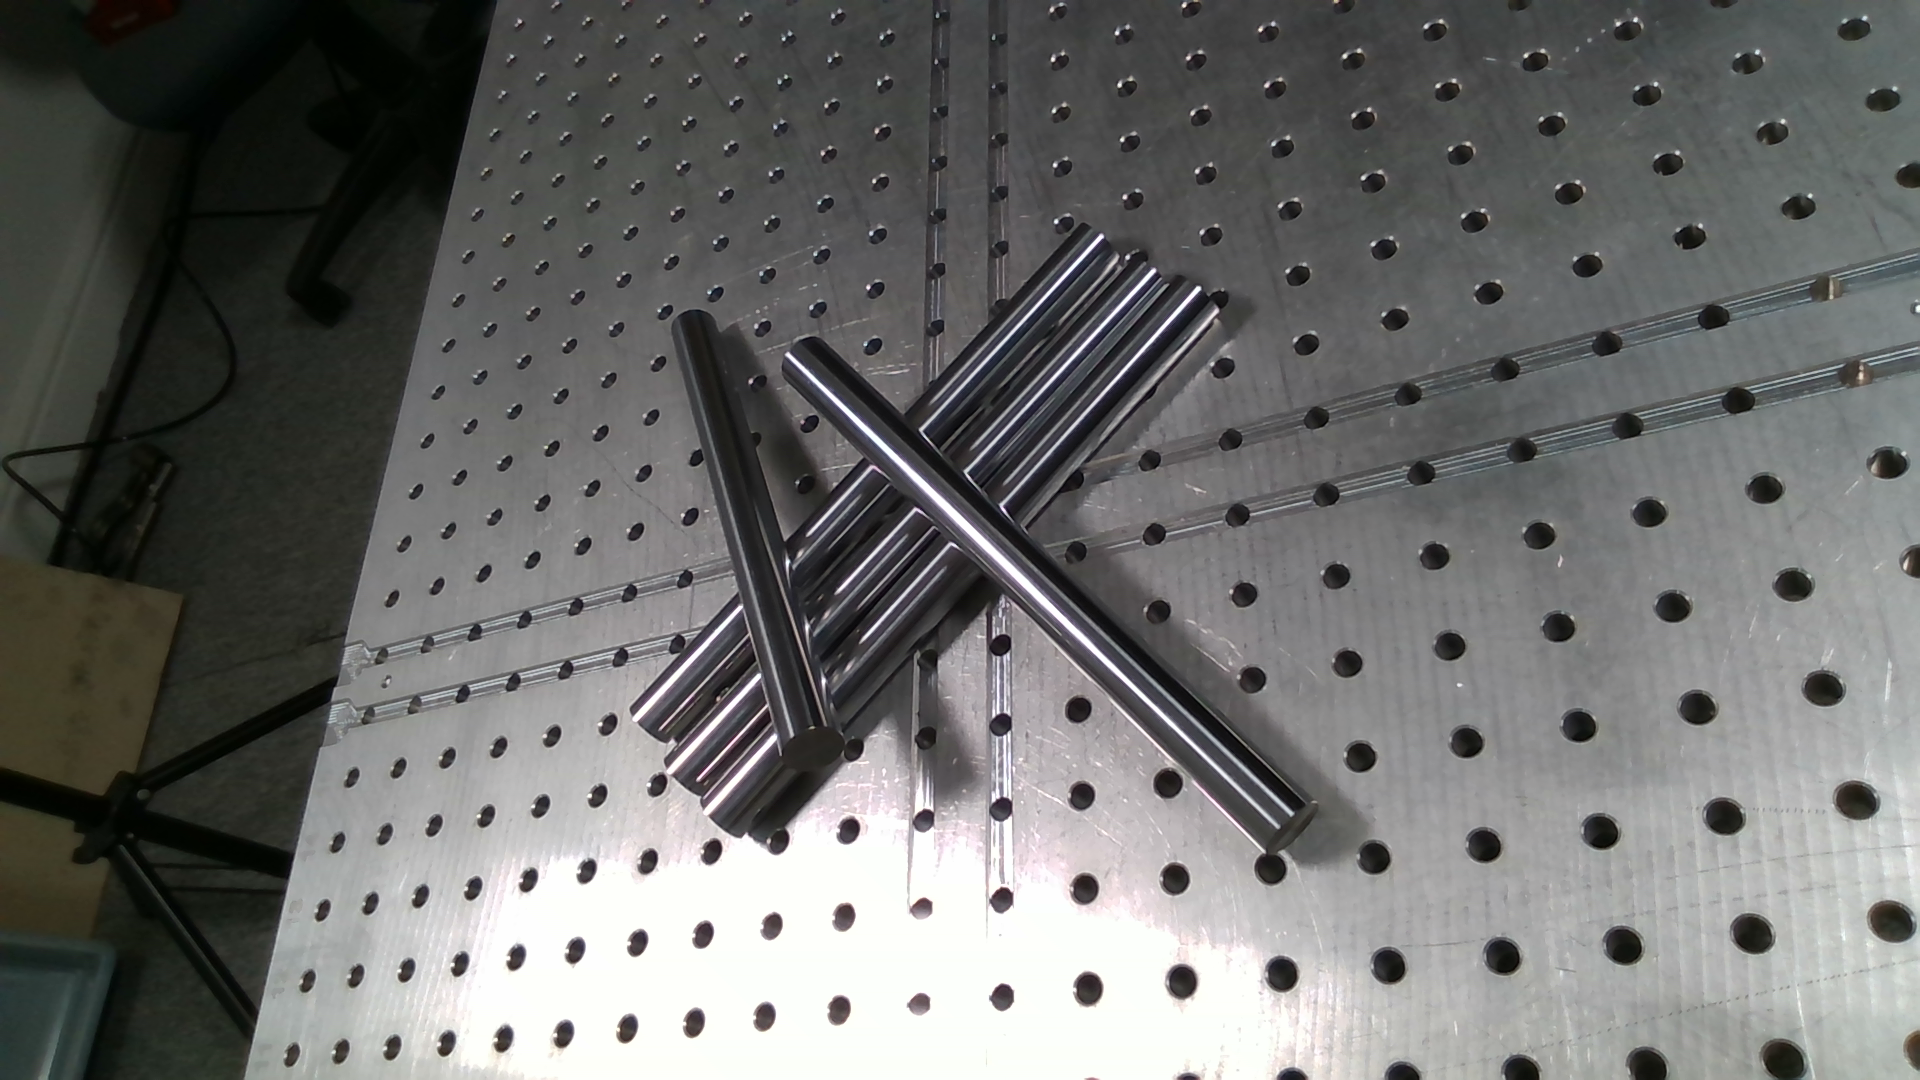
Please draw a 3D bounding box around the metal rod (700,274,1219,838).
[{"bbox_3d":[-0.001,0.007,0.585,0.300,0.025,0.025,-48,51,1],"label":"metal rod"}]

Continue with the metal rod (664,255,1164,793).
[{"bbox_3d":[-0.019,-0.005,0.603,0.300,0.025,0.025,-47,51,2],"label":"metal rod"}]

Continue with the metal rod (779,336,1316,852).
[{"bbox_3d":[0.021,0.008,0.545,0.025,0.025,0.299,-47,59,2],"label":"metal rod"}]

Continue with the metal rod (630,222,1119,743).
[{"bbox_3d":[-0.039,-0.025,0.626,0.300,0.025,0.025,-47,51,2],"label":"metal rod"}]

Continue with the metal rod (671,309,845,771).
[{"bbox_3d":[-0.099,-0.017,0.632,0.025,0.025,0.299,-35,44,11],"label":"metal rod"}]
